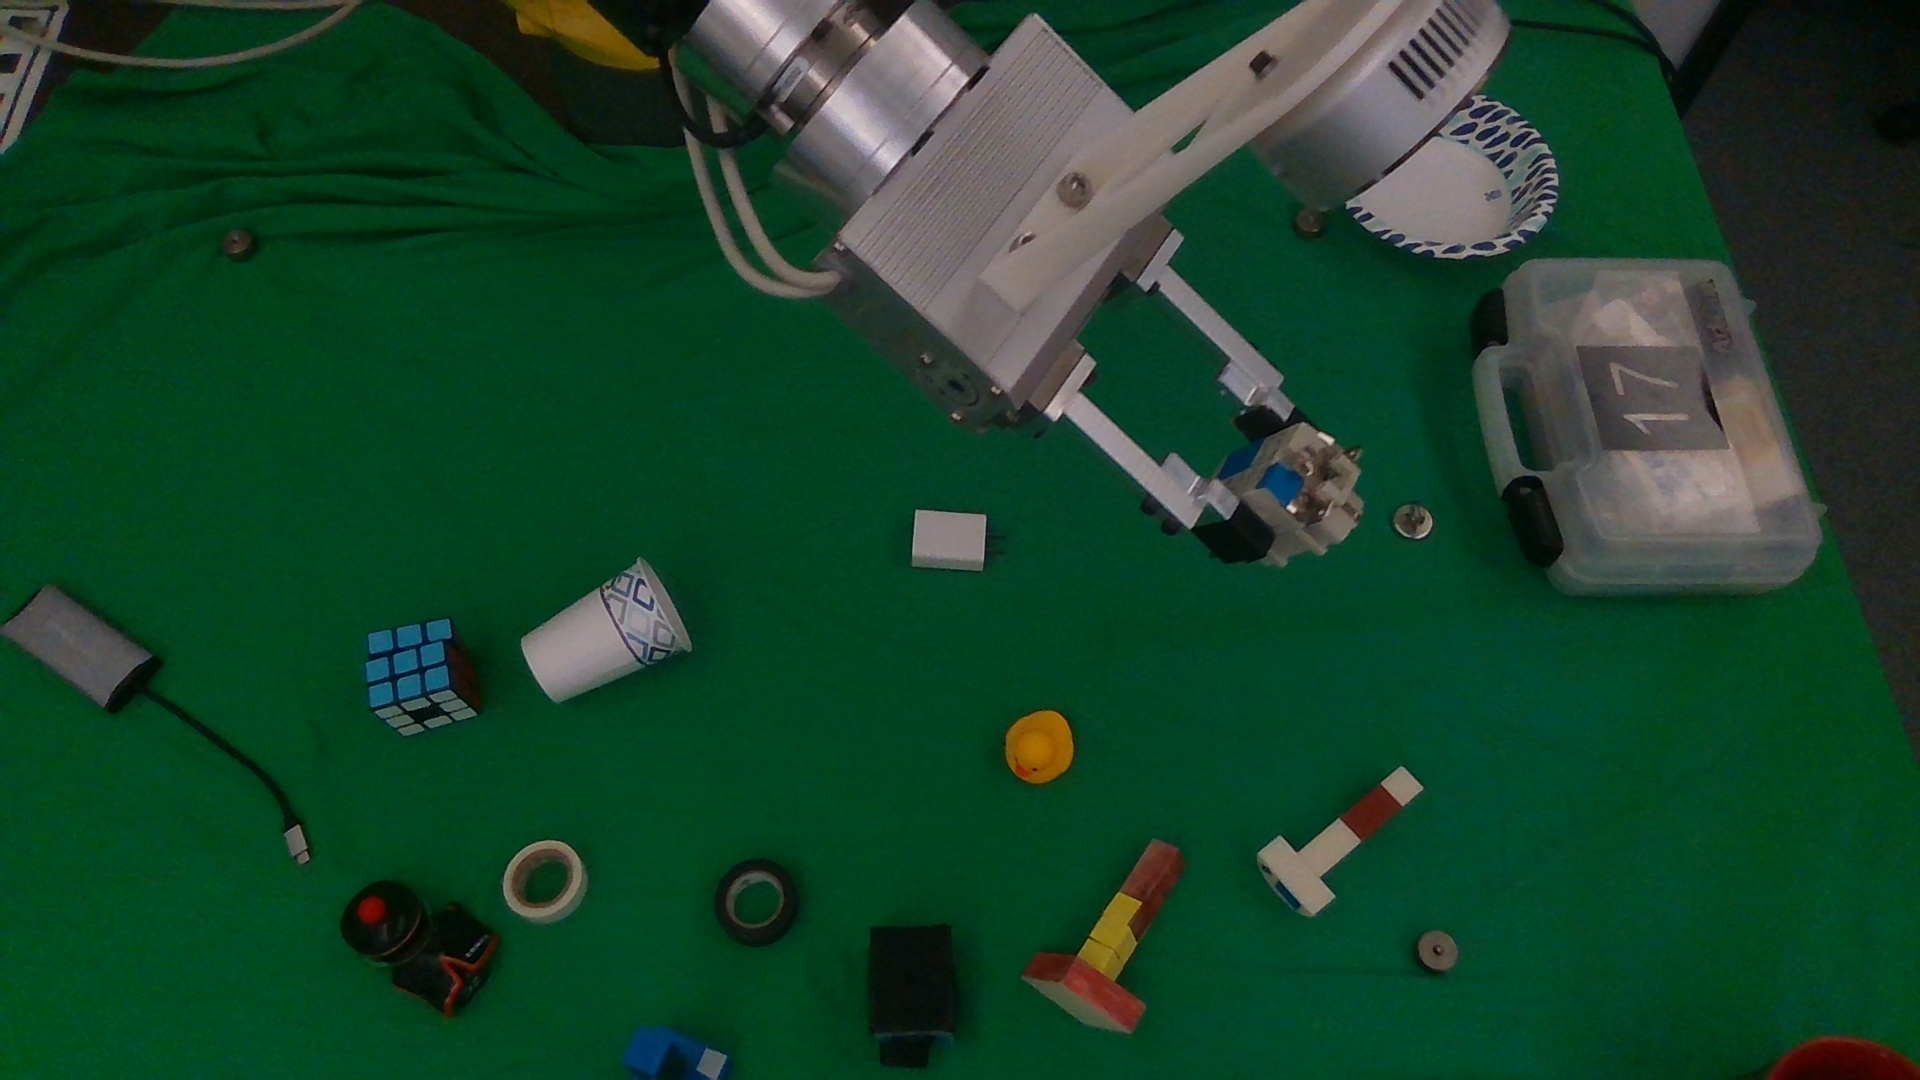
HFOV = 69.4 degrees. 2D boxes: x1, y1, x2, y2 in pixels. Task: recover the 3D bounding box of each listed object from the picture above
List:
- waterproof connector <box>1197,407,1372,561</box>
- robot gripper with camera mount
[{"bbox_3d":[0.111,-0.016,0.469,0.037,0.065,0.035,38,61,-10],"label":"waterproof connector"},{"bbox_3d":[0.094,-0.088,0.384,0.158,0.194,0.119,43,61,-11],"label":"robot gripper with camera mount"}]
